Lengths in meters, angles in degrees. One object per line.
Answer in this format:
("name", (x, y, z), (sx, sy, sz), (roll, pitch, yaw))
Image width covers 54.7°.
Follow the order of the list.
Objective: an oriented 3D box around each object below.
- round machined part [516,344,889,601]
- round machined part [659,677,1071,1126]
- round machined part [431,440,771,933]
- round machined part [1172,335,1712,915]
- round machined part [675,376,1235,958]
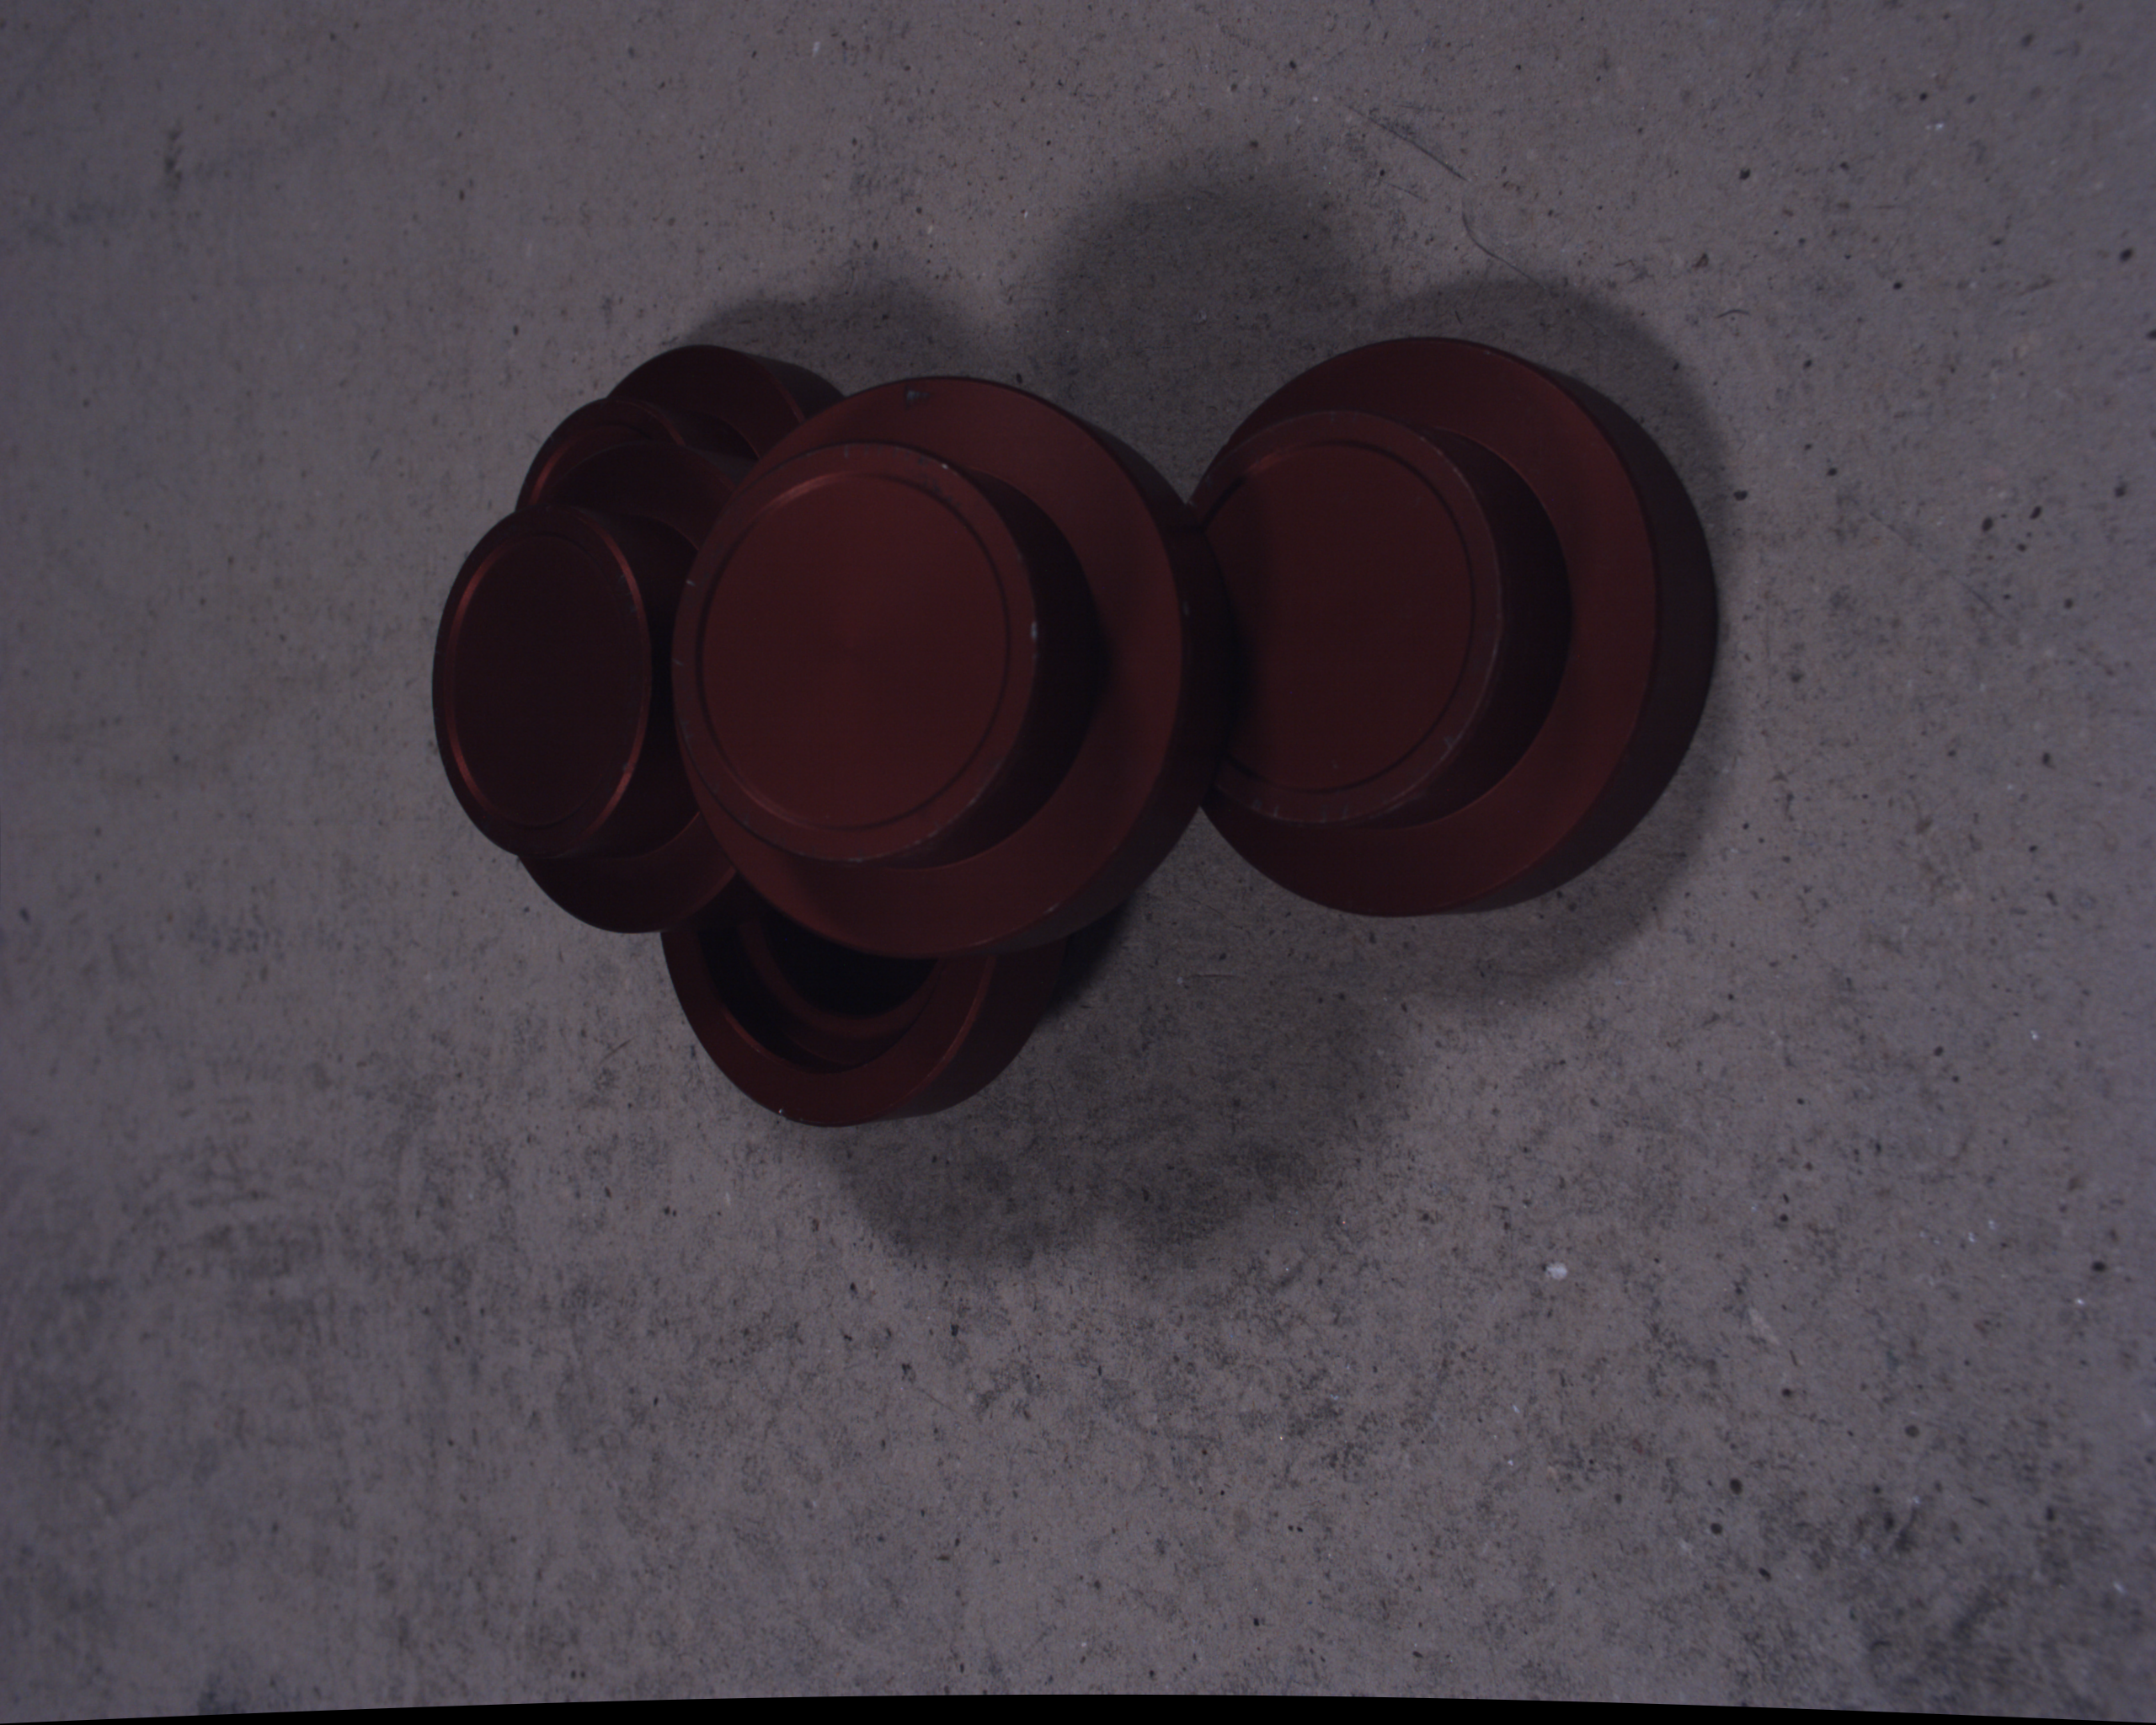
("round machined part", (-0.090, -0.067, 0.467), (0.098, 0.042, 0.097), (0, 90, 39))
("round machined part", (-0.039, 0.003, 0.425), (0.098, 0.042, 0.097), (0, 90, 39))
("round machined part", (-0.090, -0.035, 0.412), (0.098, 0.042, 0.097), (0, 90, 39))
("round machined part", (0.051, -0.040, 0.351), (0.098, 0.042, 0.097), (0, 90, 39))
("round machined part", (-0.027, -0.033, 0.348), (0.098, 0.042, 0.097), (-1, 88, 26))
